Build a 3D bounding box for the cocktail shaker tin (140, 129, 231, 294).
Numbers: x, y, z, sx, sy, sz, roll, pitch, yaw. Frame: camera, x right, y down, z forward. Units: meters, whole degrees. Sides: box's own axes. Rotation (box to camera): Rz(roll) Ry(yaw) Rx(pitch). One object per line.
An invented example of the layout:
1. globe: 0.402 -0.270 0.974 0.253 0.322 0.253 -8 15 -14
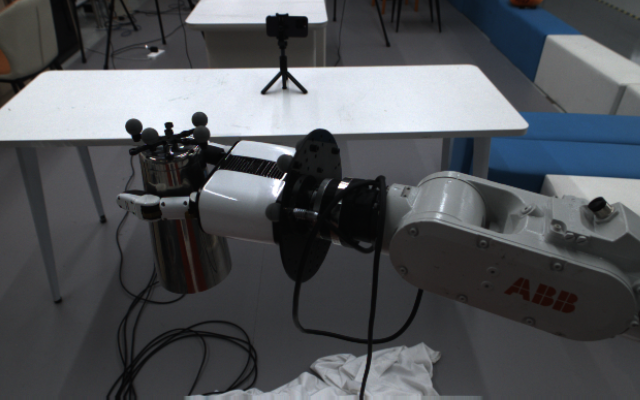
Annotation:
1. cocktail shaker tin: -0.155 0.013 0.566 0.093 0.170 0.093 -1 32 1
